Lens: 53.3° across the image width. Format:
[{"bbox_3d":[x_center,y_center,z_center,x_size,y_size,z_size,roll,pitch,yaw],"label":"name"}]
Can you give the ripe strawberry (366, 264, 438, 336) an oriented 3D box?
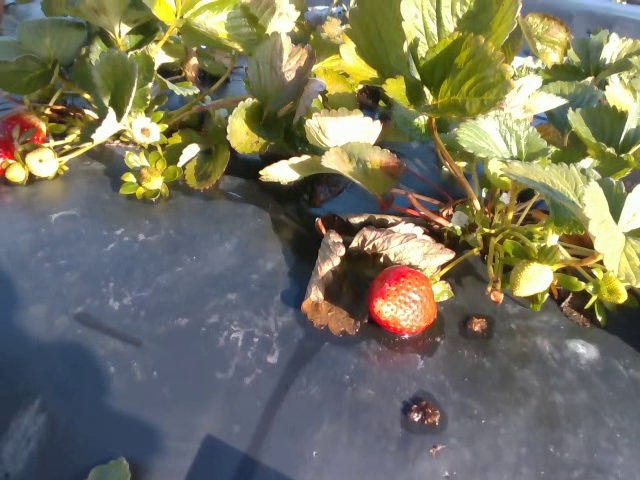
[{"bbox_3d":[0.033,0.032,0.290,0.046,0.038,0.054,45,36,22],"label":"ripe strawberry"}]
